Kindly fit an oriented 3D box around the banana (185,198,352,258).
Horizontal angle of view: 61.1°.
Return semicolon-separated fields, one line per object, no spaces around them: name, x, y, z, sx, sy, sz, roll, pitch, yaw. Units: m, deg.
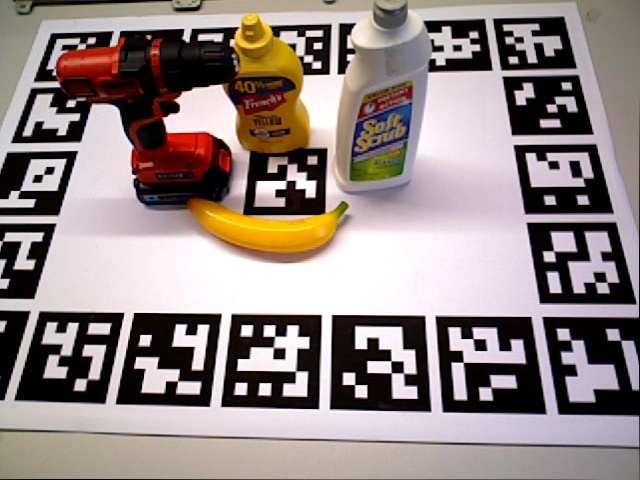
banana;-0.063;-0.016;0.627;0.197;0.039;0.073;2;68;7

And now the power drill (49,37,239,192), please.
power drill;-0.171;-0.133;0.587;0.184;0.190;0.056;-1;56;0

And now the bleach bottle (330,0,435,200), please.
bleach bottle;0.060;-0.137;0.569;0.102;0.254;0.067;-7;63;-1

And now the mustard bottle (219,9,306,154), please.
mustard bottle;-0.067;-0.178;0.623;0.096;0.194;0.057;1;62;2
